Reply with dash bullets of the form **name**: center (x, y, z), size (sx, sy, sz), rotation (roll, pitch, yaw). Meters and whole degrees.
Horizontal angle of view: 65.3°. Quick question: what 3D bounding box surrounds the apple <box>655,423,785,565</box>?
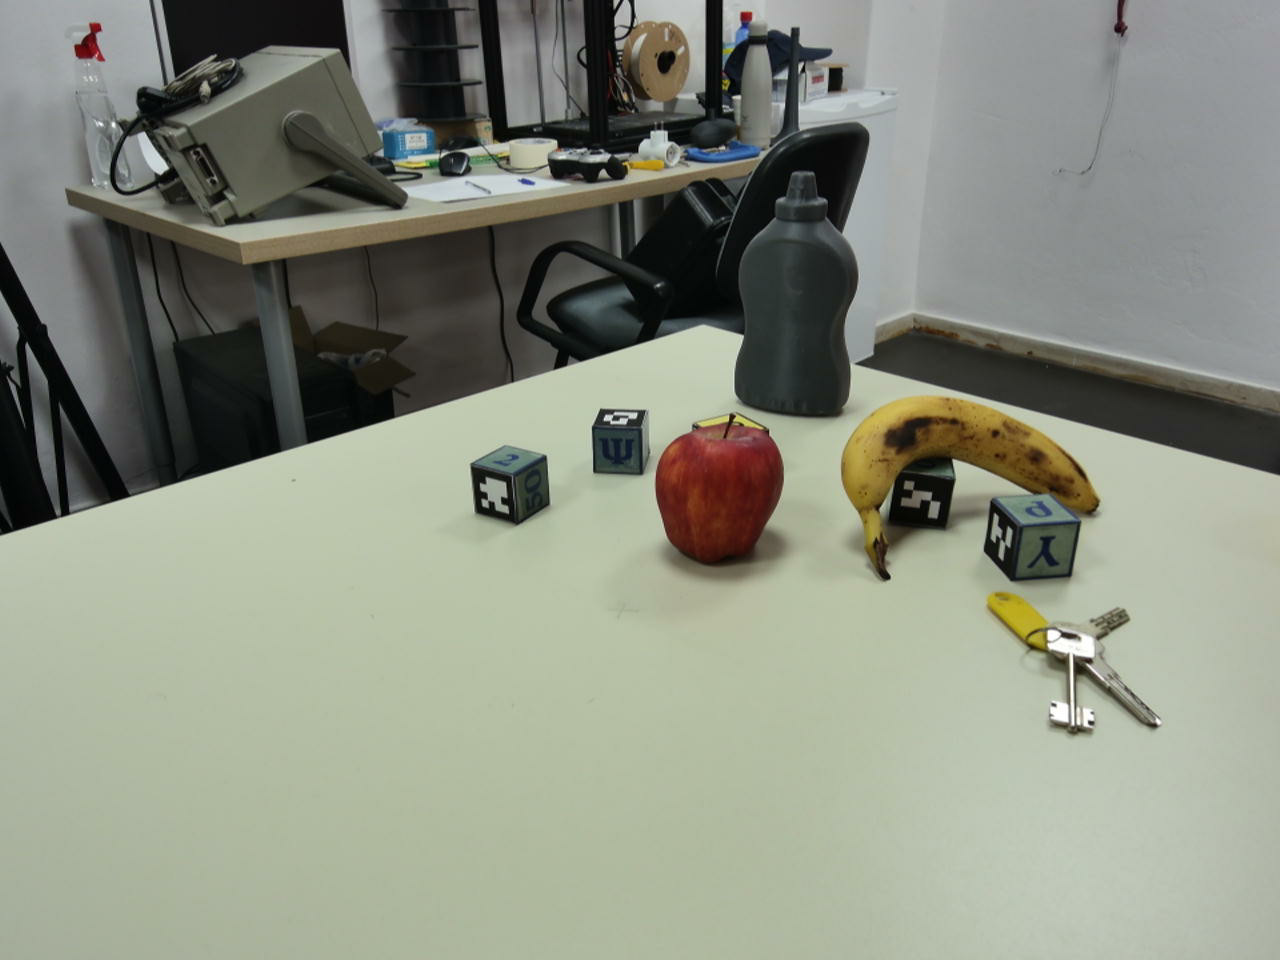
- **apple**: center (0.050, 0.000, 0.618), size (0.083, 0.090, 0.083), rotation (1, 24, 0)
